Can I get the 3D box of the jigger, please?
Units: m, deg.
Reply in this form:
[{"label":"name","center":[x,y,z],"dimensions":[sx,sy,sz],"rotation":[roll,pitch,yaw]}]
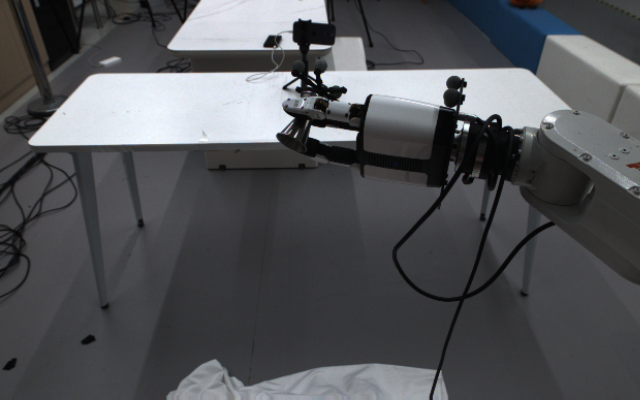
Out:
[{"label":"jigger","center":[-0.023,-0.104,0.624],"dimensions":[0.043,0.043,0.071],"rotation":[20,73,24]}]
